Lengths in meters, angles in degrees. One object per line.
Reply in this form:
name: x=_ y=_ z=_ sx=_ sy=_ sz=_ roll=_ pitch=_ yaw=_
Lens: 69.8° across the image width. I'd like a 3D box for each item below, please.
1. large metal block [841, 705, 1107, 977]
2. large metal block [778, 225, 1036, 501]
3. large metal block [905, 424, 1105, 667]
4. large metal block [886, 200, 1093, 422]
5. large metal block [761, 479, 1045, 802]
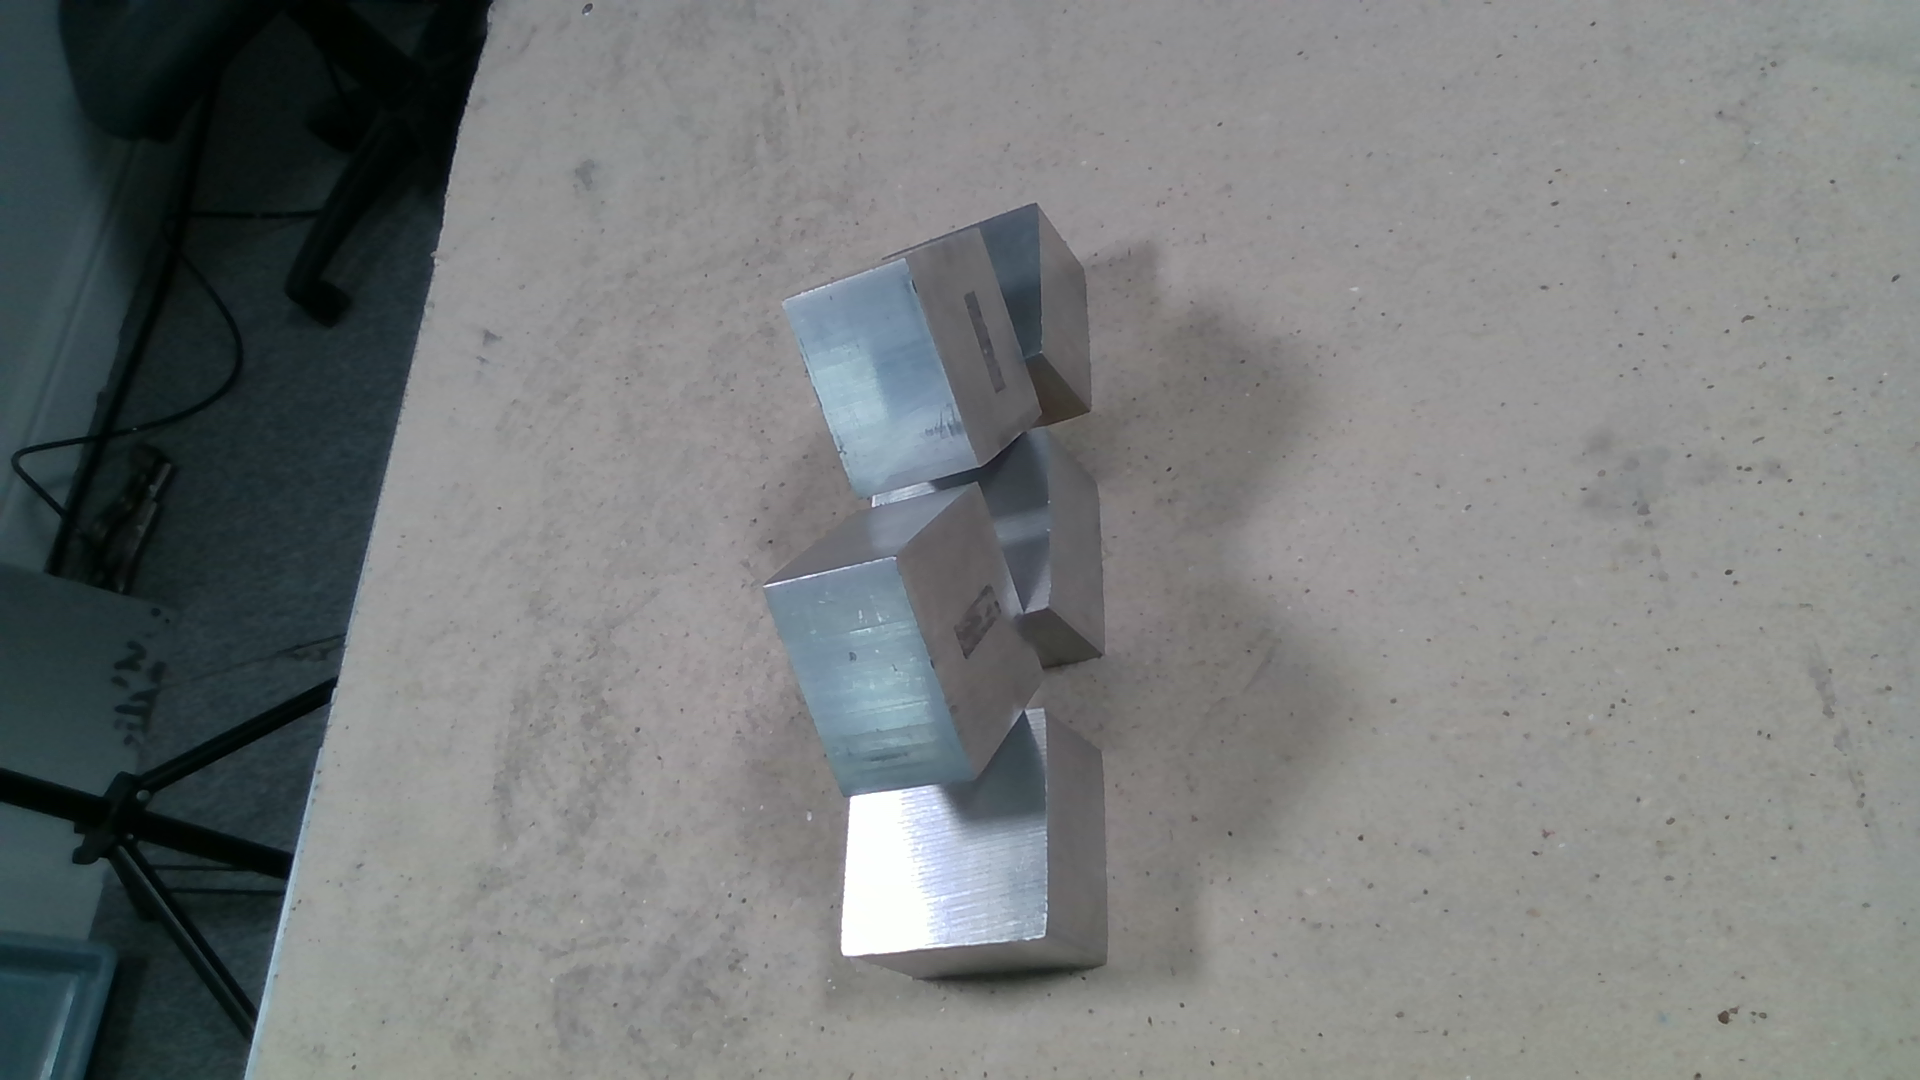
large metal block: x=0.006 y=0.113 z=0.506 sx=0.080 sy=0.050 sz=0.080 roll=-13 pitch=59 yaw=26
large metal block: x=-0.017 y=-0.070 z=0.533 sx=0.050 sy=0.080 sz=0.080 roll=-15 pitch=104 yaw=25
large metal block: x=0.010 y=0.009 z=0.559 sx=0.080 sy=0.050 sz=0.080 roll=-14 pitch=59 yaw=25
large metal block: x=0.010 y=-0.093 z=0.613 sx=0.080 sy=0.050 sz=0.080 roll=-14 pitch=59 yaw=25
large metal block: x=-0.016 y=0.033 z=0.481 sx=0.050 sy=0.080 sz=0.080 roll=-13 pitch=15 yaw=25
